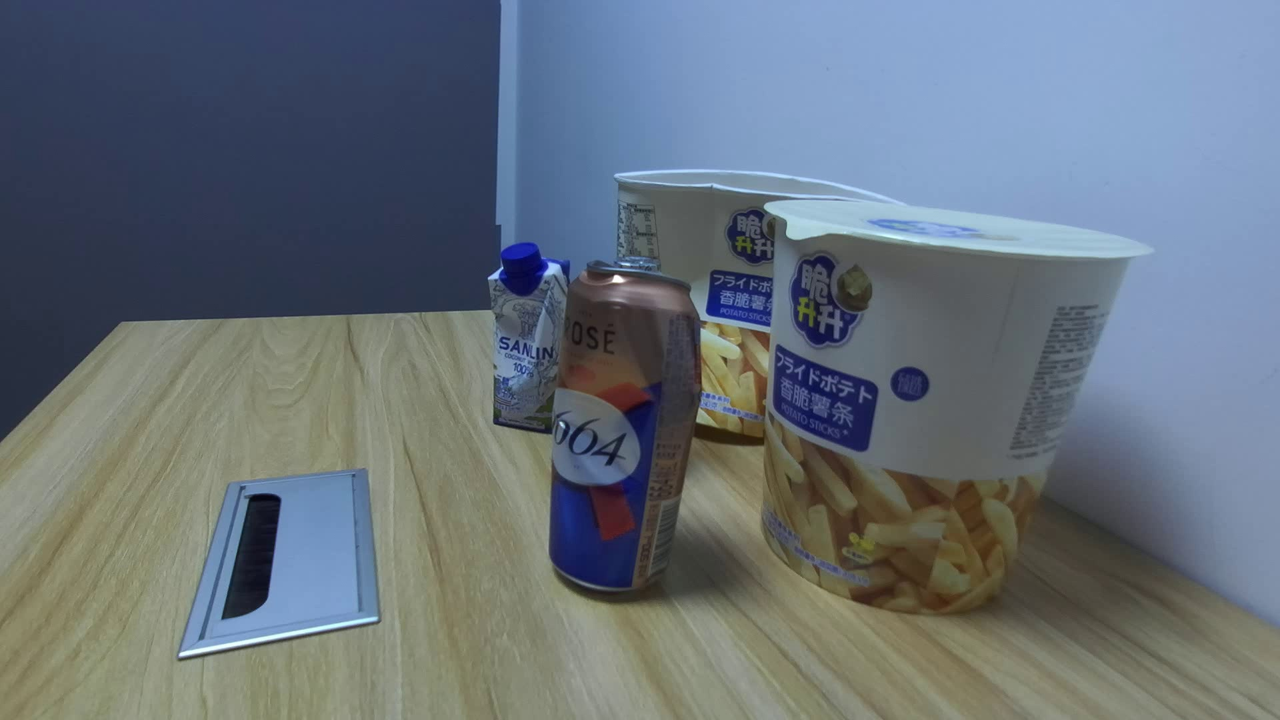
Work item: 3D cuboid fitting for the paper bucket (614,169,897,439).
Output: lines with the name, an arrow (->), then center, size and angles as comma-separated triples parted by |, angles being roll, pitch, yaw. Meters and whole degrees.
paper bucket -> 0.087, -0.048, 0.577 | 0.218, 0.199, 0.147 | 1, 19, -6

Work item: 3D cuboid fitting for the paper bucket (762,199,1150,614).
paper bucket -> 0.156, 0.018, 0.406 | 0.198, 0.194, 0.198 | 4, 18, -1

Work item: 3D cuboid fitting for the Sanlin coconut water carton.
Sanlin coconut water carton -> -0.082, -0.020, 0.545 | 0.060, 0.143, 0.070 | 8, 20, 17

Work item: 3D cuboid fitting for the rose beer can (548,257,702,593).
rose beer can -> -0.011, 0.035, 0.367 | 0.069, 0.168, 0.070 | 5, 16, -4
